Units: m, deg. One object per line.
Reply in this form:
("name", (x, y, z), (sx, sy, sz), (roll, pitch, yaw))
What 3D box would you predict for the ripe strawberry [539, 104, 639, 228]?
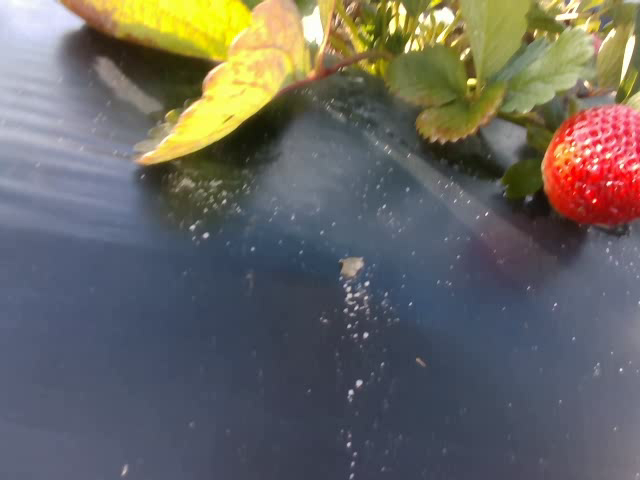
("ripe strawberry", (0.084, -0.020, 0.161), (0.041, 0.041, 0.047), (-15, 24, -7))
